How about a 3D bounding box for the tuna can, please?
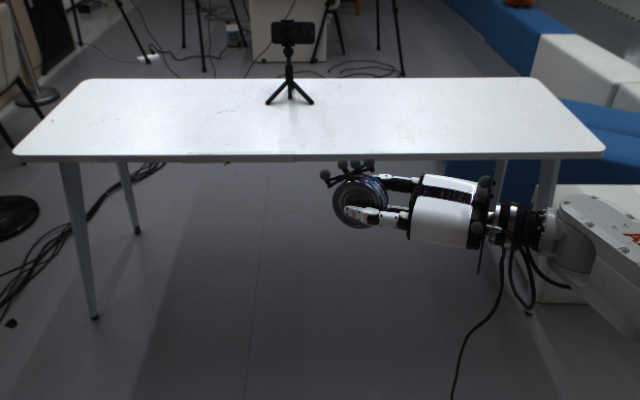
[{"bbox_3d":[0.067,0.008,0.771,0.085,0.085,0.034,15,30,17],"label":"tuna can"}]
